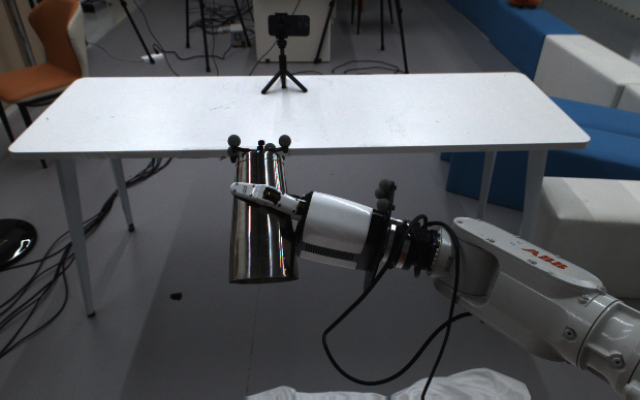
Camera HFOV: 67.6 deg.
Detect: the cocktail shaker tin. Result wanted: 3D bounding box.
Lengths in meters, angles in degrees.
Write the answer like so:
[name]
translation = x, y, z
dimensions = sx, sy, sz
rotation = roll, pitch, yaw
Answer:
[cocktail shaker tin]
translation = -0.079, 0.025, 0.656
dimensions = 0.093, 0.093, 0.170
rotation = -3, 76, -7
